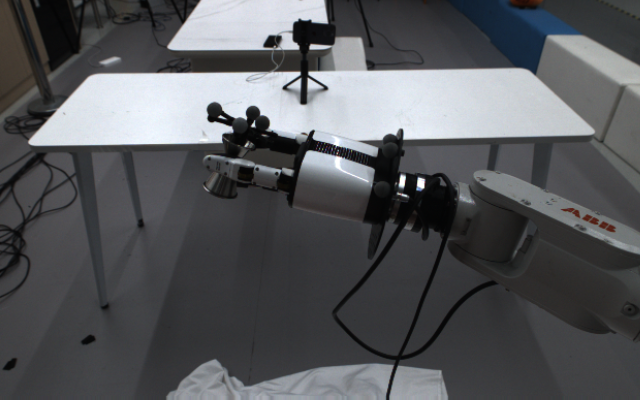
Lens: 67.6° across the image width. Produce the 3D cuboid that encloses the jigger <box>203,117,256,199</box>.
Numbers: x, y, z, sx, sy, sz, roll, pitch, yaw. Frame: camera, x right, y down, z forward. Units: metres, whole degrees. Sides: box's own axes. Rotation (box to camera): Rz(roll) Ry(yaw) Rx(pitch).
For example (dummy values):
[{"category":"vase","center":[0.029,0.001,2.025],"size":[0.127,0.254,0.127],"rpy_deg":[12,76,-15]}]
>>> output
[{"category":"jigger","center":[-0.112,-0.042,0.578],"size":[0.043,0.071,0.043],"rpy_deg":[23,19,-8]}]
